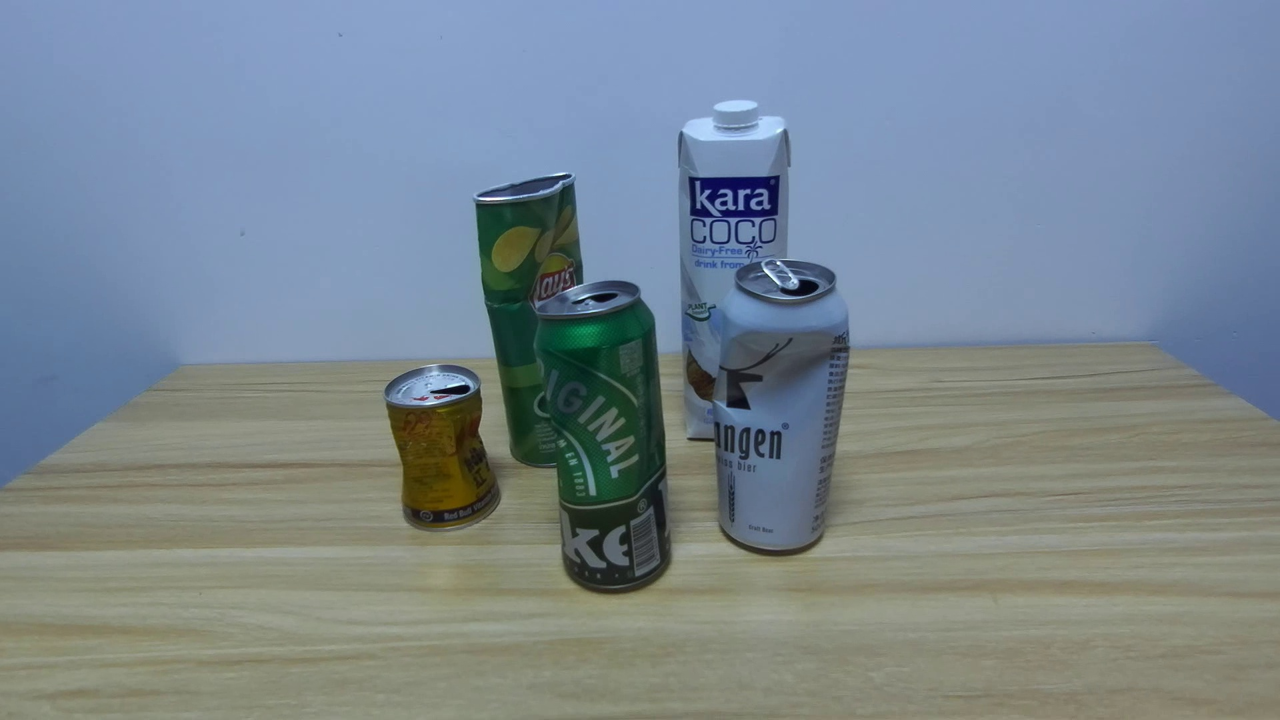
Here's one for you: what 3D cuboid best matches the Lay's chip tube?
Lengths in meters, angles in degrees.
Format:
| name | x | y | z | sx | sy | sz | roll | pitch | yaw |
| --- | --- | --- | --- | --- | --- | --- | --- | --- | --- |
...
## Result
| name | x | y | z | sx | sy | sz | roll | pitch | yaw |
| --- | --- | --- | --- | --- | --- | --- | --- | --- | --- |
| Lay's chip tube | -0.072 | -0.025 | 0.513 | 0.069 | 0.199 | 0.074 | -6 | 24 | -6 |

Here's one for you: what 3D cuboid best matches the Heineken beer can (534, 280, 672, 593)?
| name | x | y | z | sx | sy | sz | roll | pitch | yaw |
| --- | --- | --- | --- | --- | --- | --- | --- | --- | --- |
| Heineken beer can | -0.019 | 0.044 | 0.395 | 0.068 | 0.168 | 0.069 | -15 | 24 | -21 |

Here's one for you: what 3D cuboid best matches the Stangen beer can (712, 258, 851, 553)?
| name | x | y | z | sx | sy | sz | roll | pitch | yaw |
| --- | --- | --- | --- | --- | --- | --- | --- | --- | --- |
| Stangen beer can | 0.080 | 0.029 | 0.411 | 0.070 | 0.173 | 0.070 | -17 | 29 | -29 |

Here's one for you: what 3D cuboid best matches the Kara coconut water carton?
| name | x | y | z | sx | sy | sz | roll | pitch | yaw |
| --- | --- | --- | --- | --- | --- | --- | --- | --- | --- |
| Kara coconut water carton | 0.069 | -0.061 | 0.520 | 0.077 | 0.245 | 0.075 | 2 | 24 | 11 |

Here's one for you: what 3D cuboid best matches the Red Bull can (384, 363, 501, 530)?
| name | x | y | z | sx | sy | sz | roll | pitch | yaw |
| --- | --- | --- | --- | --- | --- | --- | --- | --- | --- |
| Red Bull can | -0.131 | 0.058 | 0.469 | 0.072 | 0.092 | 0.072 | -2 | 23 | 1 |
